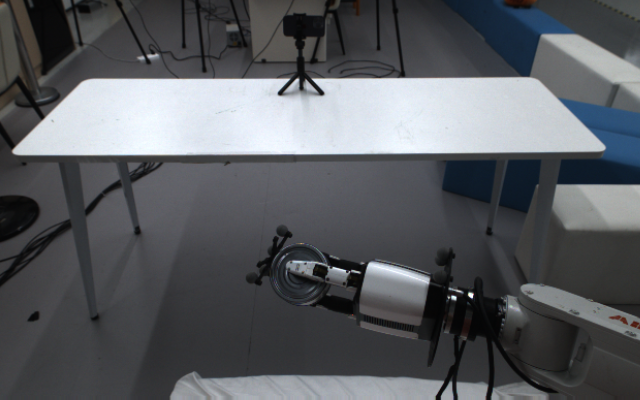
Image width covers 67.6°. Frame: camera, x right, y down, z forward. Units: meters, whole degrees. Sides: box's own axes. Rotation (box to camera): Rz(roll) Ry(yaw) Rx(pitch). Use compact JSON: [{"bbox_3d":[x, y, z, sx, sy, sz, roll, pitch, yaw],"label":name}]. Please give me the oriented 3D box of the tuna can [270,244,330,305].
[{"bbox_3d":[-0.023,0.108,0.676,0.085,0.034,0.085,-2,72,5],"label":"tuna can"}]
